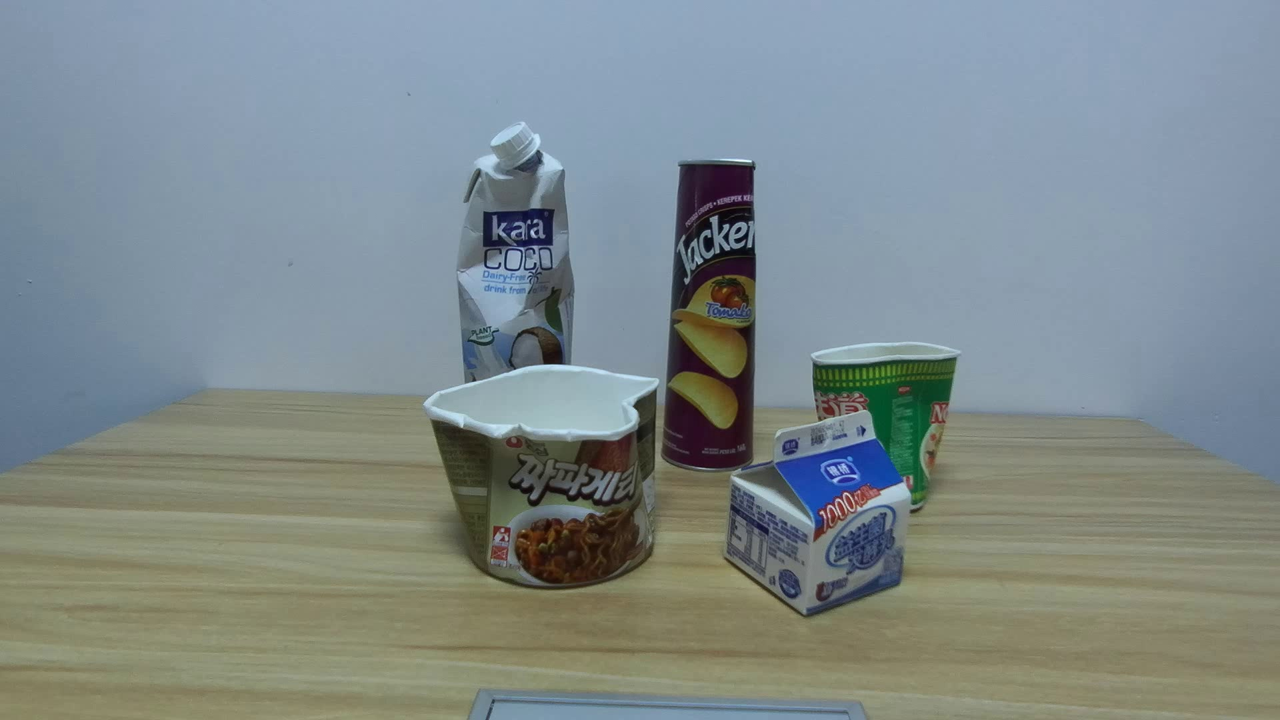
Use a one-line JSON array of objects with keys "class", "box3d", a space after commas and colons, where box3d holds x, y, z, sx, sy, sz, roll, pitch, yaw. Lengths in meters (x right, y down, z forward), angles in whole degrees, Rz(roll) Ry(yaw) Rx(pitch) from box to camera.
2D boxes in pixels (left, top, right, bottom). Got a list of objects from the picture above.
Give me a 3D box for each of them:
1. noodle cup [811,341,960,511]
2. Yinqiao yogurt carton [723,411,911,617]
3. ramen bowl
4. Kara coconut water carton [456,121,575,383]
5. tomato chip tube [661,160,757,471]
[{"class": "noodle cup", "box3d": [0.171, 0.045, 0.502, 0.115, 0.111, 0.070, 1, 14, -4]}, {"class": "Yinqiao yogurt carton", "box3d": [0.099, 0.076, 0.393, 0.076, 0.092, 0.073, -7, 15, -29]}, {"class": "ramen bowl", "box3d": [-0.056, 0.064, 0.420, 0.133, 0.097, 0.113, 4, 15, 4]}, {"class": "Kara coconut water carton", "box3d": [-0.094, -0.046, 0.539, 0.083, 0.255, 0.078, 3, 16, 5]}, {"class": "tomato chip tube", "box3d": [0.059, -0.035, 0.558, 0.076, 0.235, 0.078, 7, 12, 23]}]
